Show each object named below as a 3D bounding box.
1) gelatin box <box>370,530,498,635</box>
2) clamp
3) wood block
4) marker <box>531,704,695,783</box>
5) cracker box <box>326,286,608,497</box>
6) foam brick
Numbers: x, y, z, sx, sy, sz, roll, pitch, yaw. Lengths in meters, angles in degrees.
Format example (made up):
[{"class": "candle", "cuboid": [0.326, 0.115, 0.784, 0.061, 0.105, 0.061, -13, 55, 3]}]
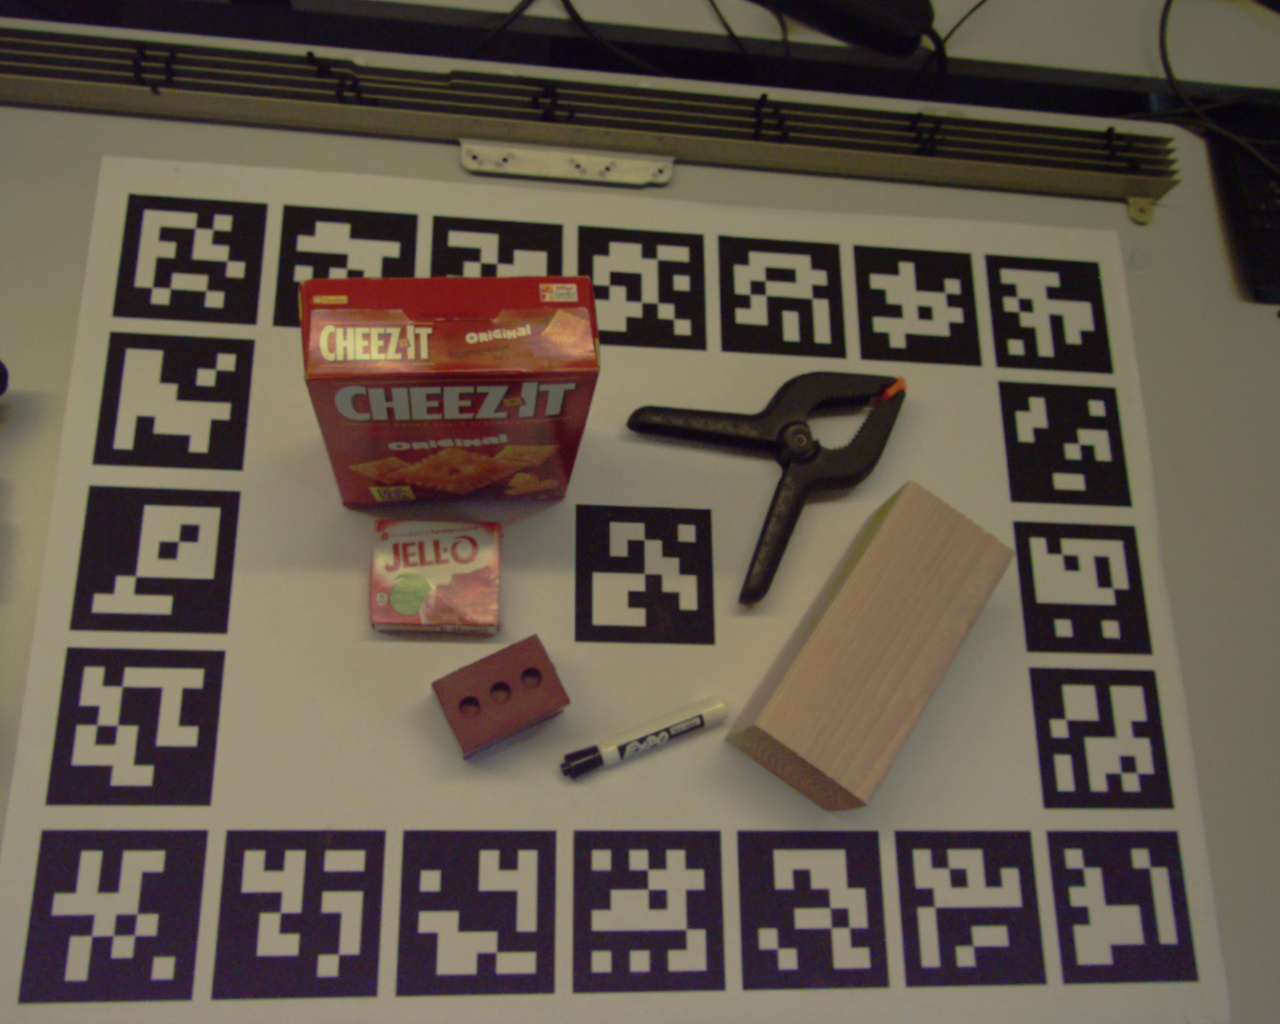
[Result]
[{"class": "gelatin box", "cuboid": [-0.148, 0.051, 0.821, 0.089, 0.030, 0.073, 1, 77, -8]}, {"class": "clamp", "cuboid": [0.104, -0.041, 0.874, 0.202, 0.037, 0.166, -29, 81, -14]}, {"class": "wood block", "cuboid": [0.146, 0.100, 0.818, 0.090, 0.091, 0.205, 35, 71, 4]}, {"class": "marker", "cuboid": [-0.019, 0.165, 0.810, 0.120, 0.020, 0.020, -18, 80, -12]}, {"class": "cracker box", "cuboid": [-0.118, -0.070, 0.755, 0.163, 0.214, 0.072, -1, 75, -11]}, {"class": "foam brick", "cuboid": [-0.105, 0.128, 0.793, 0.077, 0.051, 0.053, -22, 81, -13]}]
